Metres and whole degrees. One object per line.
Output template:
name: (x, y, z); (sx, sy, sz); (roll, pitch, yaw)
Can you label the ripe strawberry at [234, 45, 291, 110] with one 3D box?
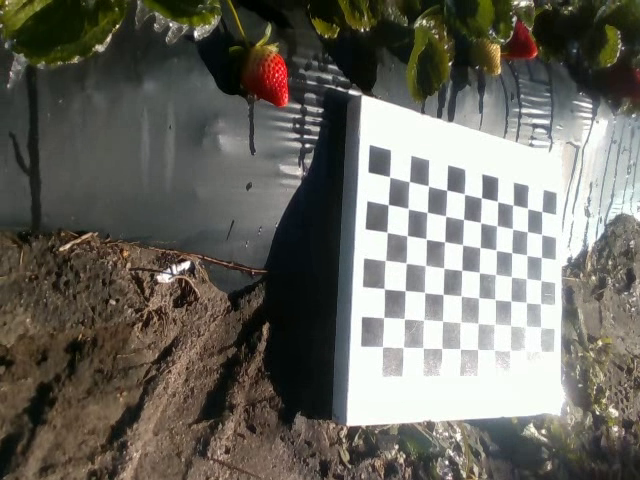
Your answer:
ripe strawberry: (-0.036, -0.118, 0.465); (0.039, 0.053, 0.040); (-19, -9, -35)
